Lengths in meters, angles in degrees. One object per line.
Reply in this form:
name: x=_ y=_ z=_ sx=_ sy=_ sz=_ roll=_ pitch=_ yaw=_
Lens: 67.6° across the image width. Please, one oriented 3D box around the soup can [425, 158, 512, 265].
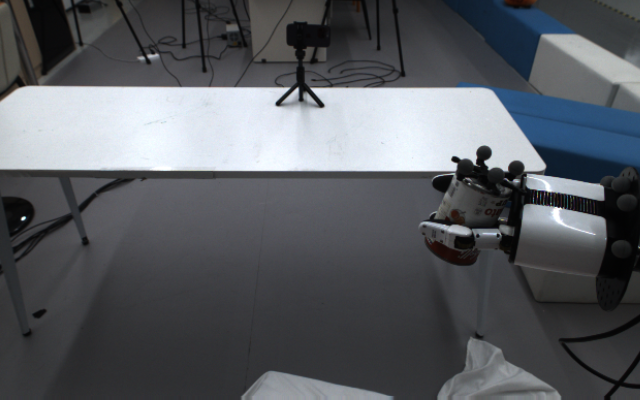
soup can: x=0.176 y=0.017 z=0.573 sx=0.067 sy=0.101 sz=0.067 roll=13 pitch=30 yaw=-8
